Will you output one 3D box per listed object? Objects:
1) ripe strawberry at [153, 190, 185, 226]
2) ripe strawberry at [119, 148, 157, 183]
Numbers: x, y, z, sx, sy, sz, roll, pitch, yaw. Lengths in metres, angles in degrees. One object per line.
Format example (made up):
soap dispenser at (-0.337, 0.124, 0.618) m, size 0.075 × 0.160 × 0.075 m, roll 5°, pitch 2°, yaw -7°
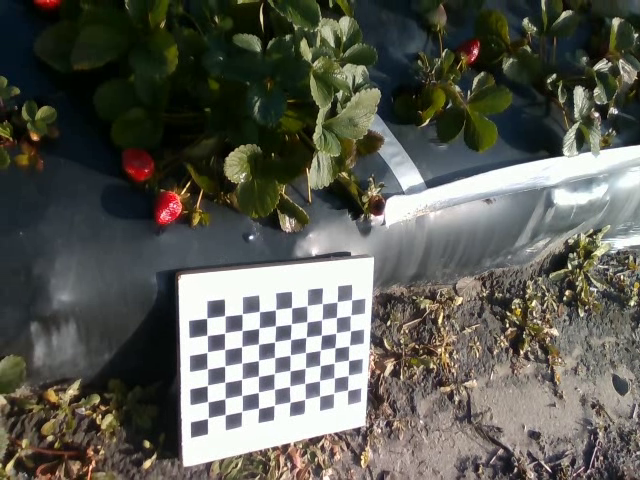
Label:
ripe strawberry at (-0.202, -0.040, 0.761) m, size 0.038 × 0.053 × 0.043 m, roll -26°, pitch -59°, yaw 34°
ripe strawberry at (-0.241, -0.098, 0.770) m, size 0.039 × 0.048 × 0.054 m, roll 17°, pitch 2°, yaw 39°
